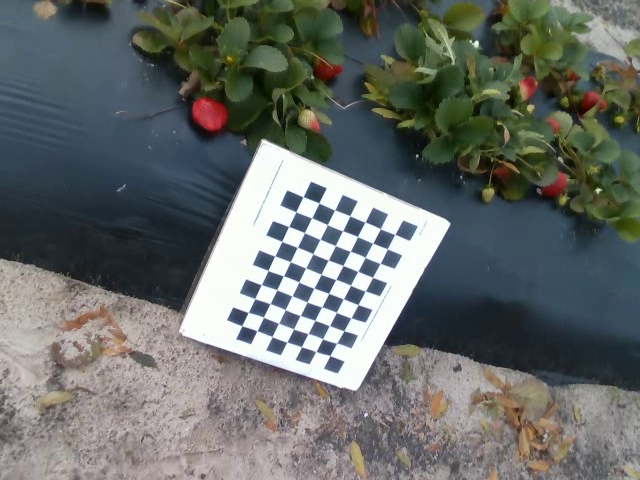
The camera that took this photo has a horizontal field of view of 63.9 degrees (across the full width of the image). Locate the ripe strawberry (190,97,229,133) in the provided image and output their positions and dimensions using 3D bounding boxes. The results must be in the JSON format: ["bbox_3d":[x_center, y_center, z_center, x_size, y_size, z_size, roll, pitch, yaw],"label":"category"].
[{"bbox_3d":[-0.115,-0.127,0.513,0.037,0.046,0.037,-19,-31,7],"label":"ripe strawberry"}]
